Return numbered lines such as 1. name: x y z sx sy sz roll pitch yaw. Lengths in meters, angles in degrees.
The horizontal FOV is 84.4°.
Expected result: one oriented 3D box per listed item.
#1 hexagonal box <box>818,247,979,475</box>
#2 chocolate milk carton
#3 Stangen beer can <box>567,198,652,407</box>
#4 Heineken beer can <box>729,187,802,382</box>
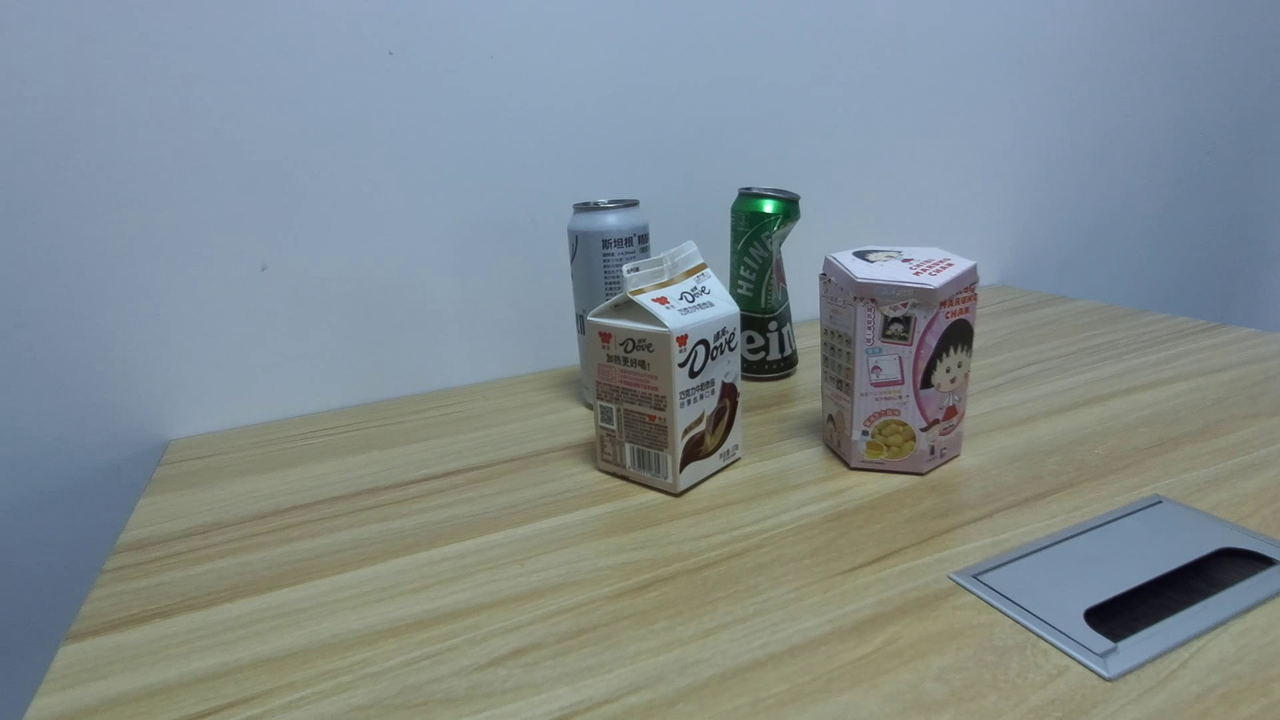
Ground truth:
1. hexagonal box: 0.168 -0.002 0.468 0.092 0.135 0.084 -16 22 -35
2. chocolate milk carton: 0.018 0.001 0.465 0.073 0.148 0.076 12 22 40
3. Stangen beer can: -0.020 -0.043 0.584 0.067 0.171 0.067 -5 12 1
4. Heineken beer can: 0.114 -0.067 0.636 0.068 0.168 0.069 -8 18 -24
